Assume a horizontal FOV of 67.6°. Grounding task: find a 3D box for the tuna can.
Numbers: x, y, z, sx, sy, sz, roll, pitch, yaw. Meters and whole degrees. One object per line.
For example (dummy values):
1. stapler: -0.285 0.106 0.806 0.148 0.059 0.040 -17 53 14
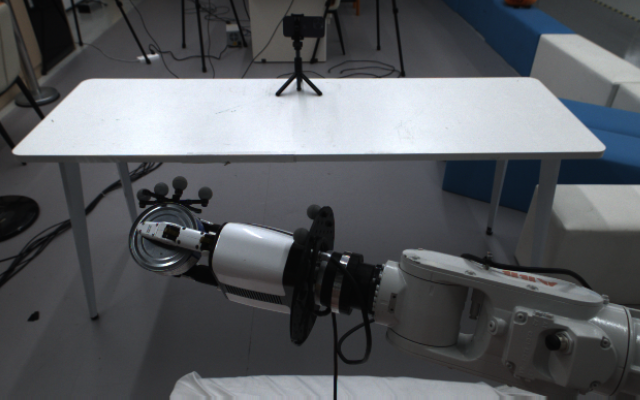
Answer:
1. tuna can: -0.178 0.050 0.586 0.085 0.034 0.085 -2 69 6
